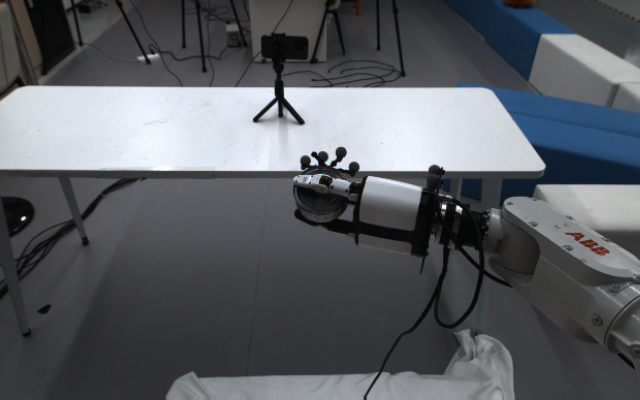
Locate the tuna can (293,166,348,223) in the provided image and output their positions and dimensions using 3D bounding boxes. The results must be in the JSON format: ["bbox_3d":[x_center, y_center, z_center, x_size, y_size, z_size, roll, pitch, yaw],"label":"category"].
[{"bbox_3d":[0.002,-0.010,0.746,0.085,0.034,0.085,-2,58,4],"label":"tuna can"}]
